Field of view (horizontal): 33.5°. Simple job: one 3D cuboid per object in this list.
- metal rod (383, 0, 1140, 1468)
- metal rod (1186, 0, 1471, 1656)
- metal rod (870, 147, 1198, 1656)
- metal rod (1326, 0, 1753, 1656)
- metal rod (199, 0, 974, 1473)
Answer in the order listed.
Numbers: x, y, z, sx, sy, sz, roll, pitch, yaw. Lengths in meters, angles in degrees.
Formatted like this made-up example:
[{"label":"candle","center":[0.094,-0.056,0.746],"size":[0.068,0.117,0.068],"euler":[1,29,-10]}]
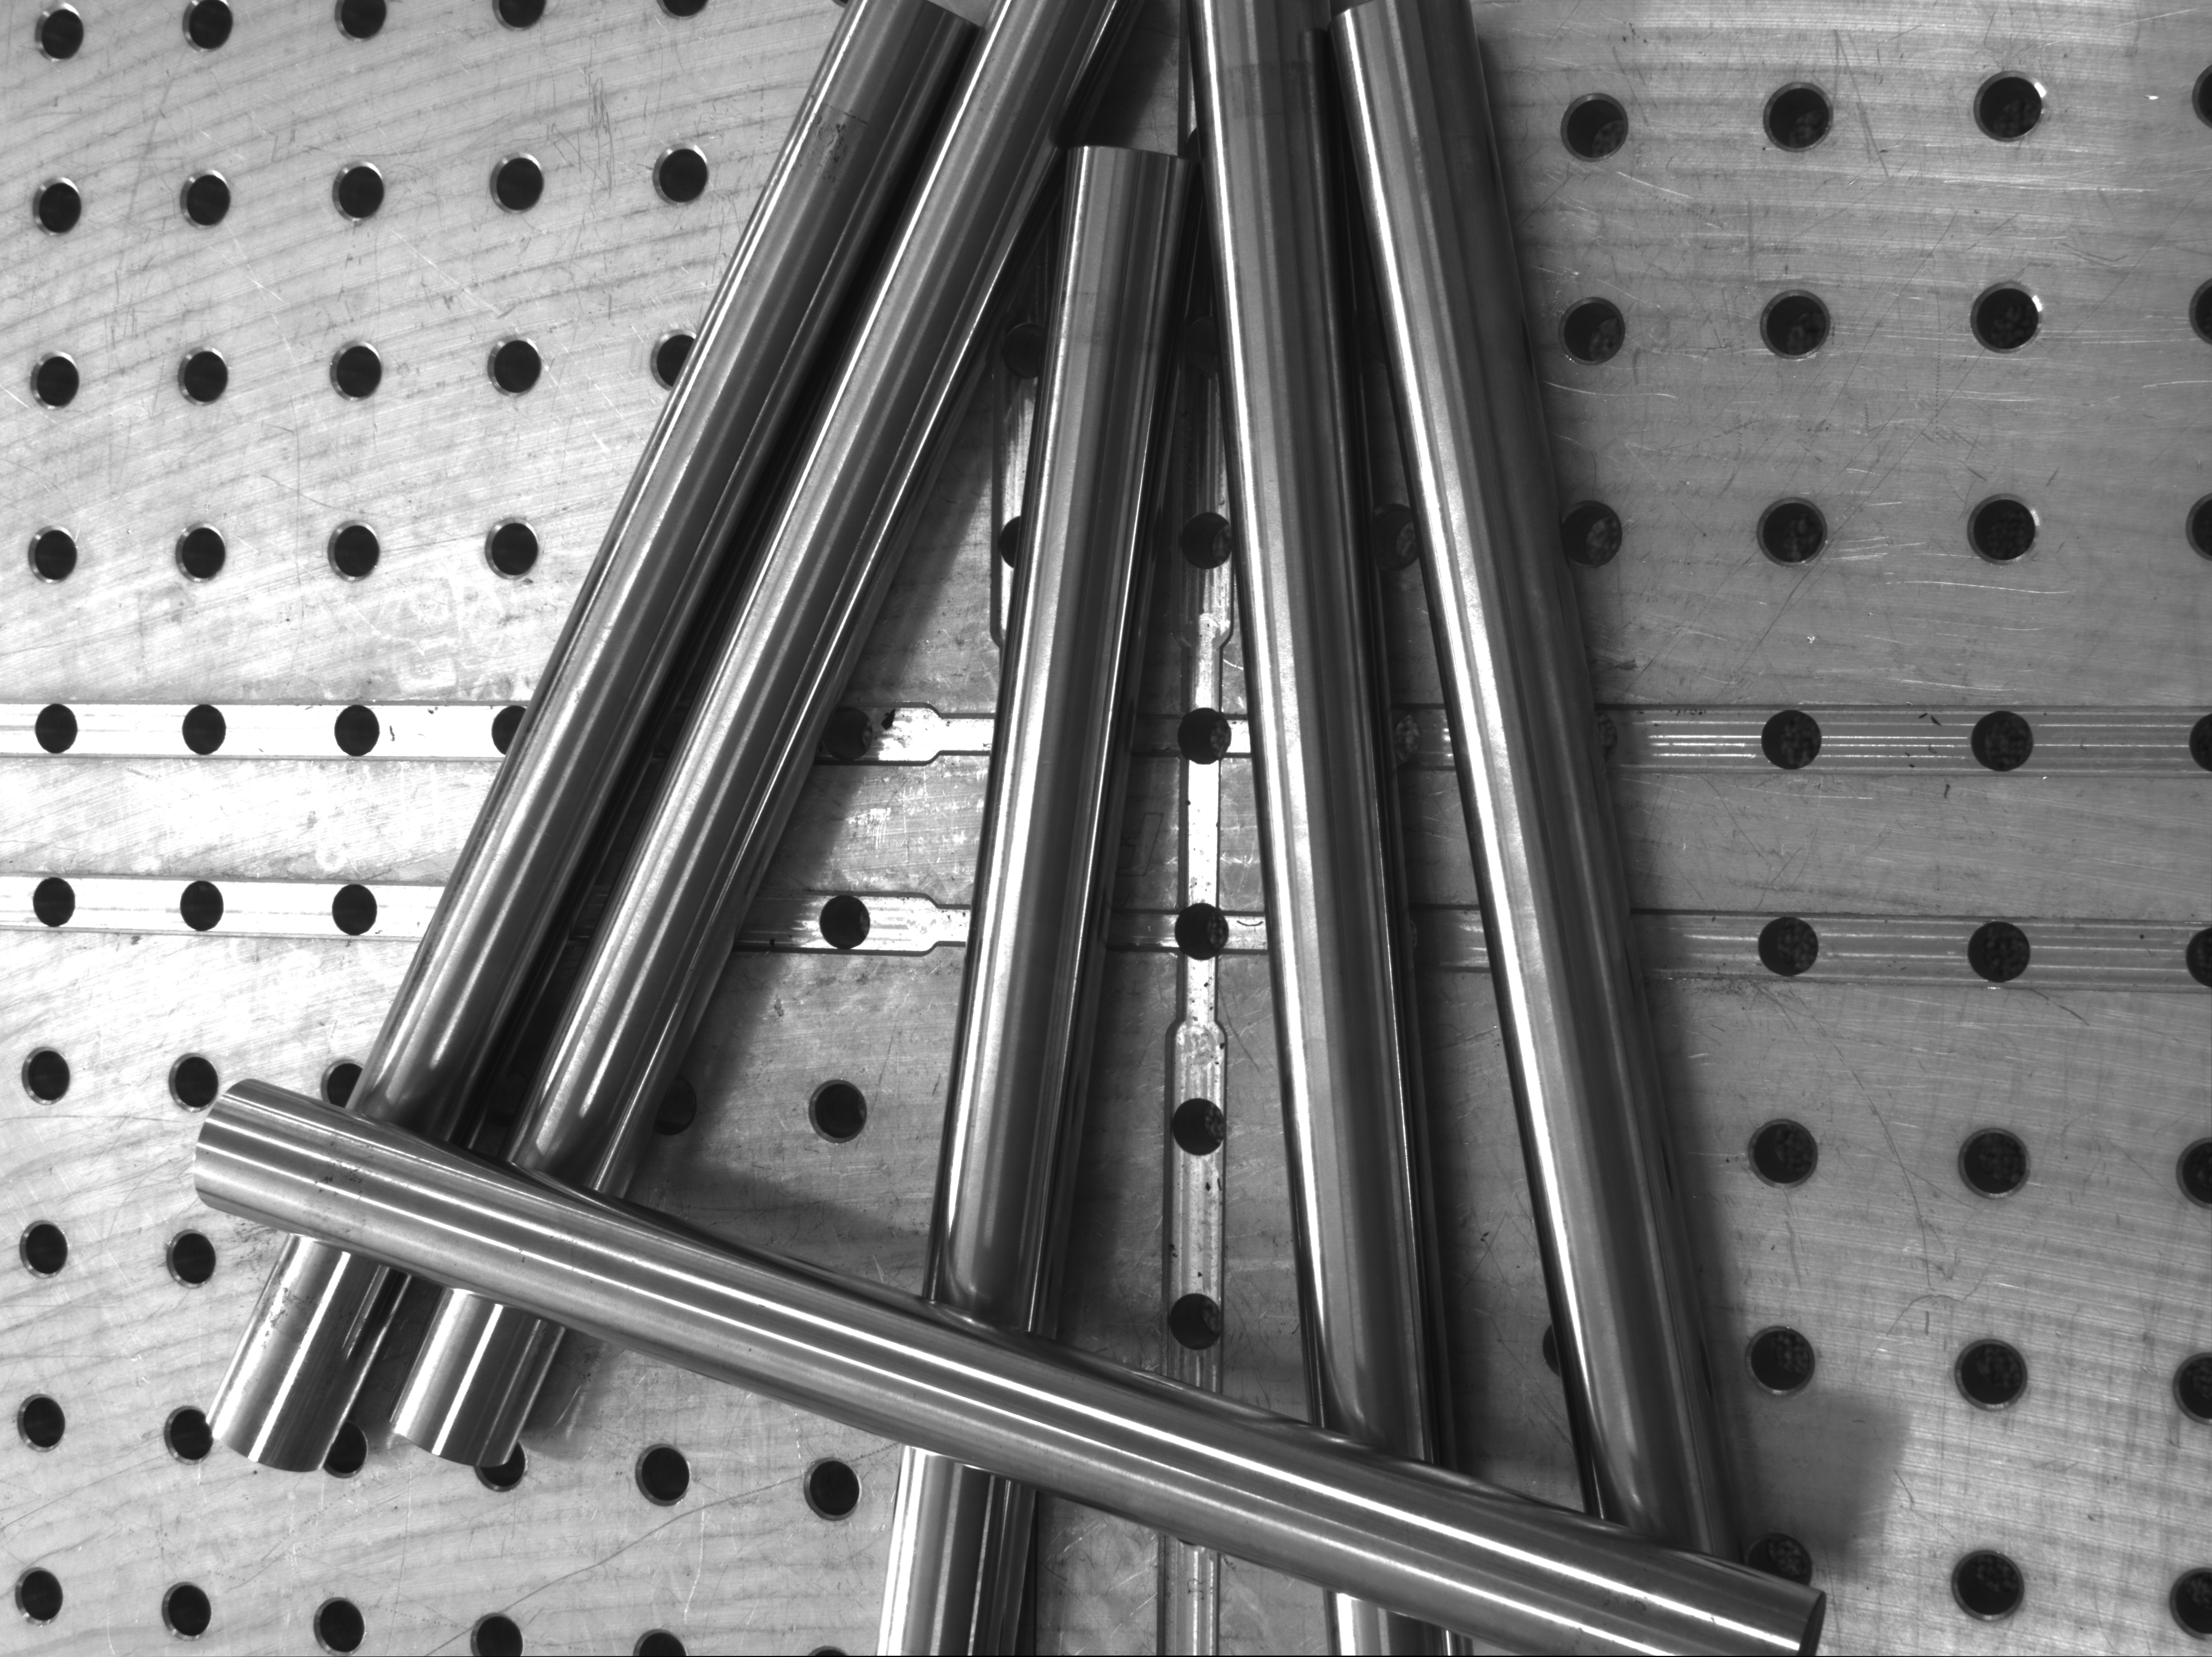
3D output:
[{"label":"metal rod","center":[-0.064,-0.021,0.673],"size":[0.025,0.025,0.300],"euler":[27,99,18]},{"label":"metal rod","center":[0.038,-0.006,0.636],"size":[0.025,0.025,0.300],"euler":[-5,88,20]},{"label":"metal rod","center":[-0.015,0.031,0.655],"size":[0.025,0.025,0.300],"euler":[8,93,20]},{"label":"metal rod","center":[0.074,0.008,0.622],"size":[0.025,0.025,0.300],"euler":[-10,86,20]},{"label":"metal rod","center":[-0.099,-0.016,0.684],"size":[0.025,0.025,0.300],"euler":[29,99,18]}]
